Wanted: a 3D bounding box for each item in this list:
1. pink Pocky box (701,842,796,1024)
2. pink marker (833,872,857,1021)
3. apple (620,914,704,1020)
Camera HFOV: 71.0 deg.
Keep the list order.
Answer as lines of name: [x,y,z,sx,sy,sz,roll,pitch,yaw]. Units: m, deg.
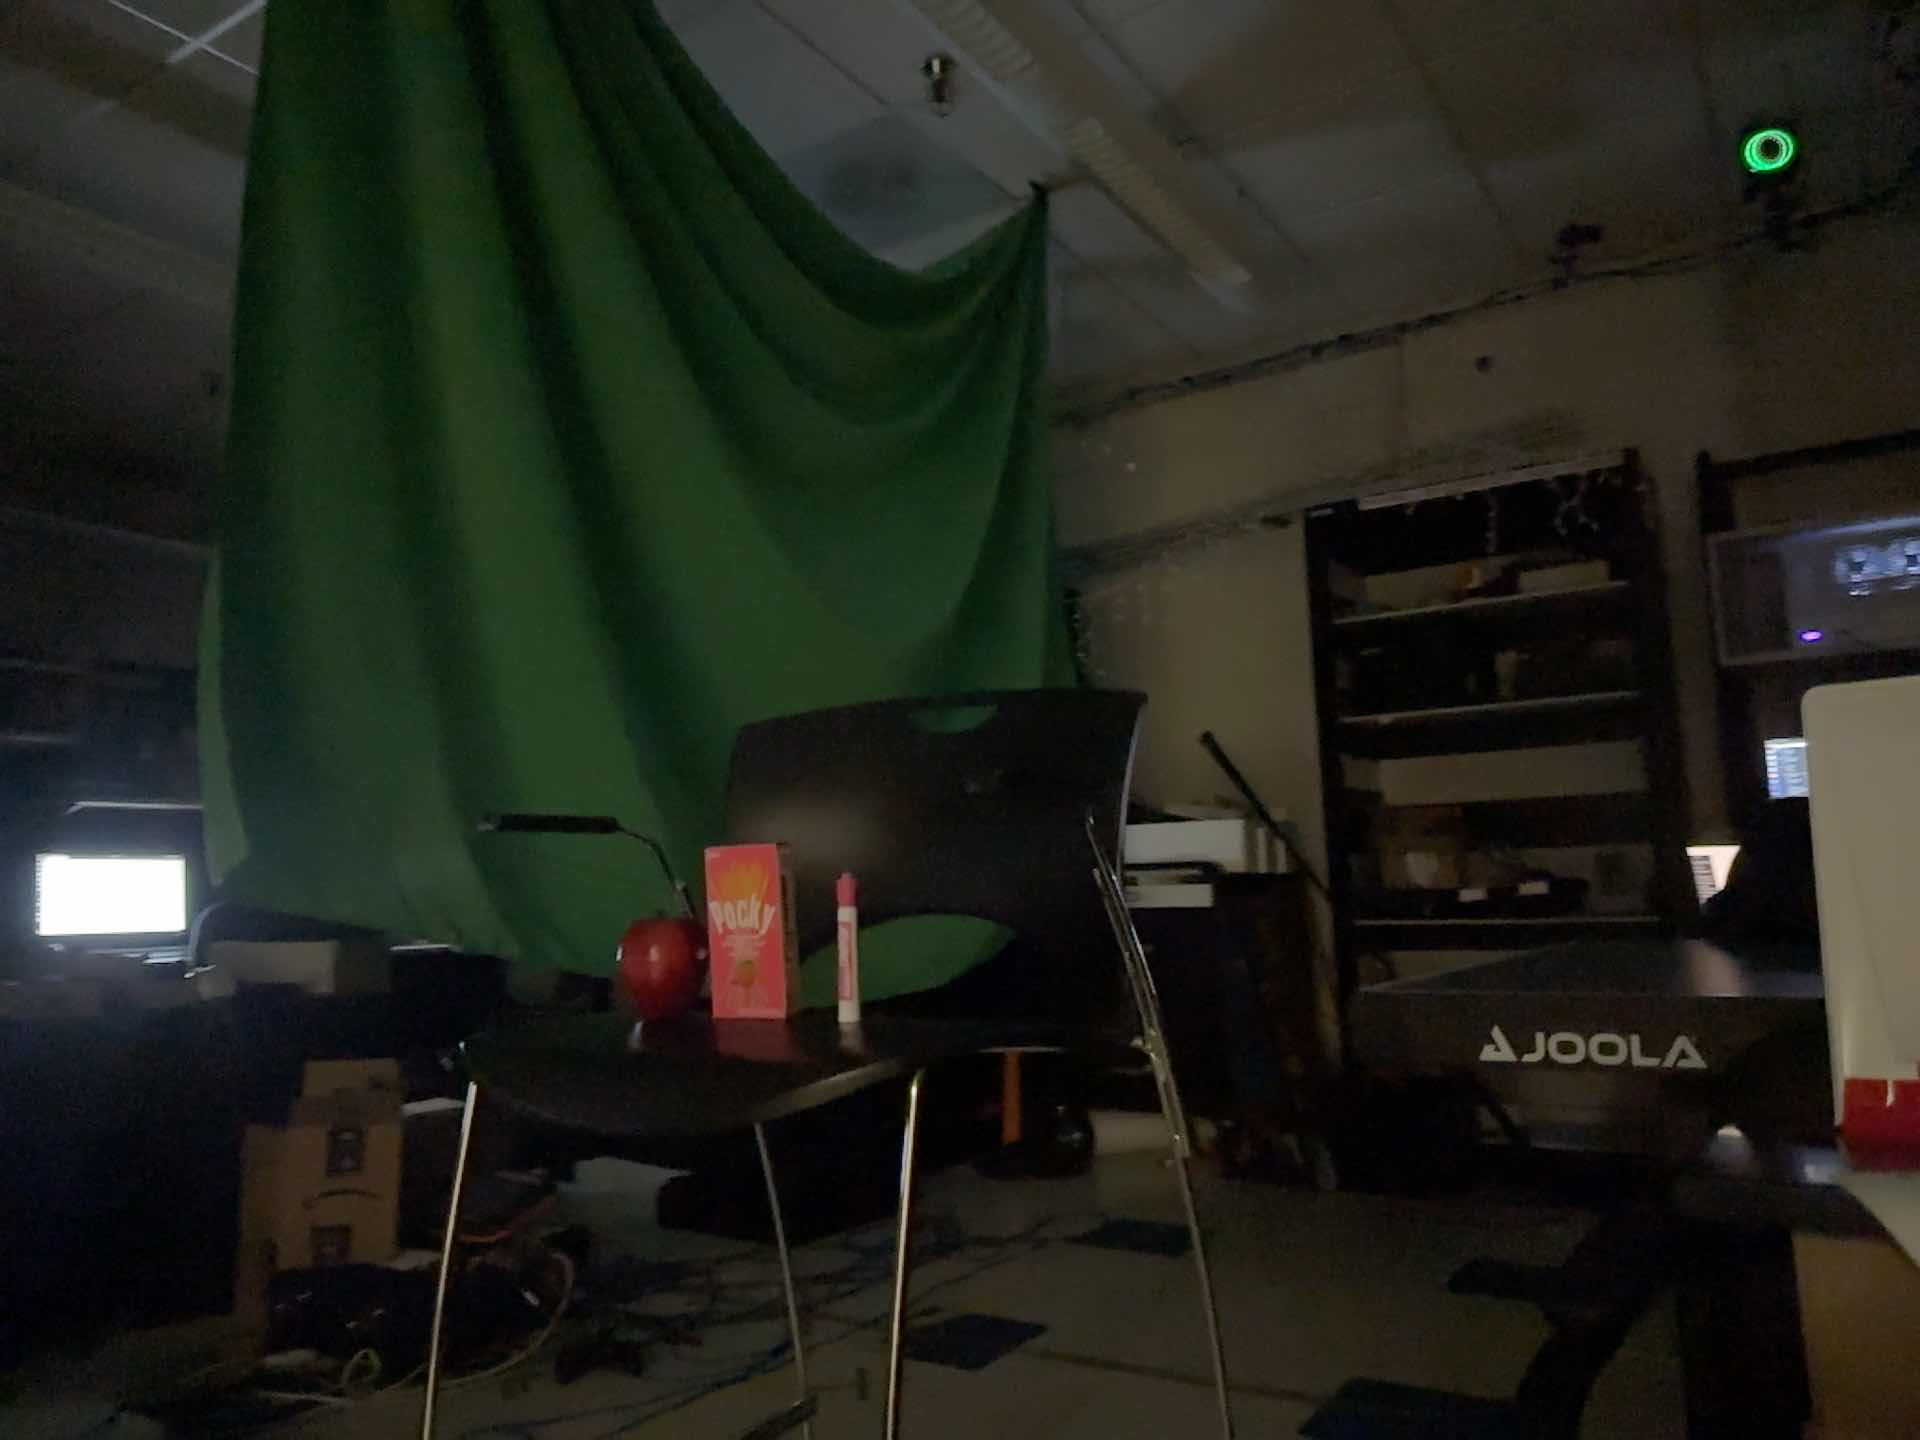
pink Pocky box: [-0.186,0.184,1.174,0.084,0.155,0.029,-4,-5,31]
pink marker: [-0.096,0.187,1.118,0.020,0.121,0.020,0,-5,0]
apple: [-0.268,0.221,1.214,0.079,0.093,0.079,1,-9,0]
